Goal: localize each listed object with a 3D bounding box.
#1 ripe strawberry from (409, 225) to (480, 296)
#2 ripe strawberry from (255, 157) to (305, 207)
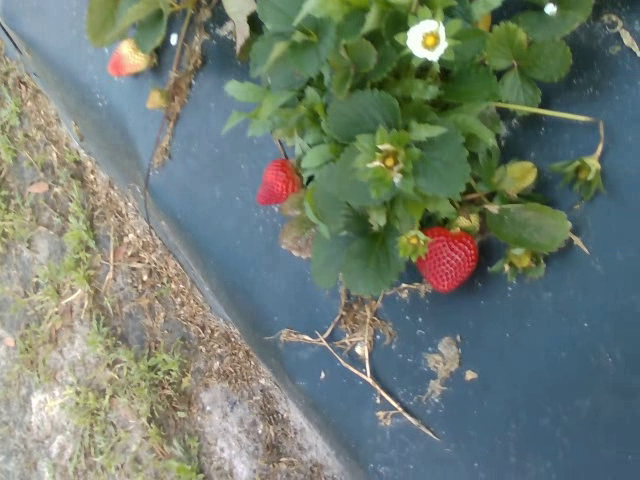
[{"bbox_3d":[0.083,0.016,0.409,0.046,0.046,0.043,16,-32,-26],"label":"ripe strawberry"},{"bbox_3d":[-0.034,-0.047,0.503,0.051,0.043,0.042,-44,-24,21],"label":"ripe strawberry"}]
